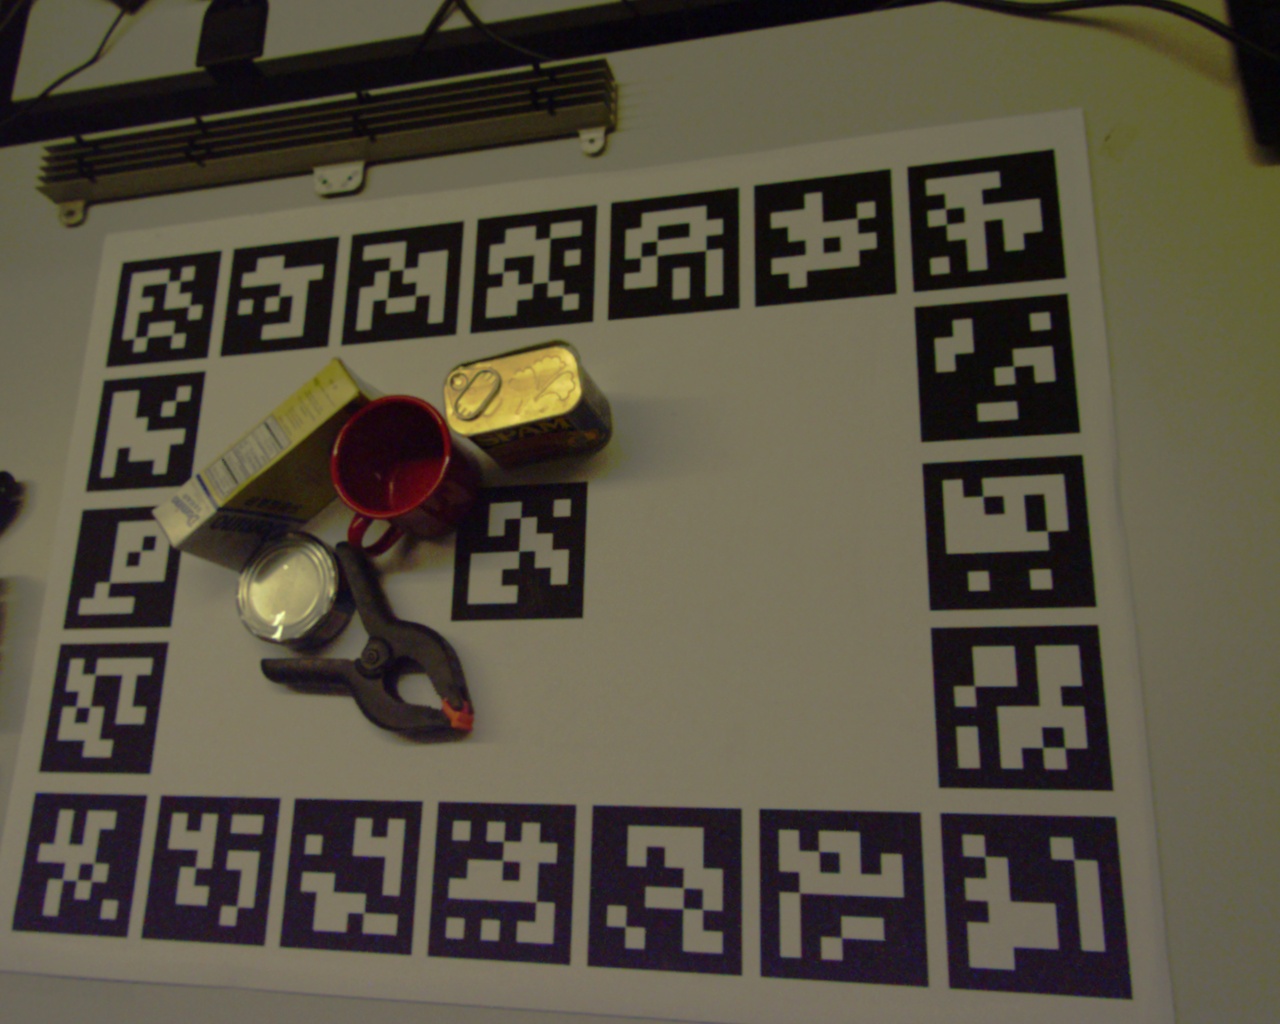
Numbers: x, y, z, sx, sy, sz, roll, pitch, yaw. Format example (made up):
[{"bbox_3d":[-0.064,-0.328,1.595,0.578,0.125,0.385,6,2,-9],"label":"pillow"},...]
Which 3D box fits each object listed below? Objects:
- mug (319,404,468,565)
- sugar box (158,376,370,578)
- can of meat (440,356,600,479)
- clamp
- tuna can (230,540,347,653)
[{"bbox_3d":[-0.186,-0.015,0.859,0.094,0.081,0.117,23,84,19],"label":"mug"},{"bbox_3d":[-0.275,-0.024,0.889,0.176,0.092,0.046,-39,68,1],"label":"sugar box"},{"bbox_3d":[-0.086,-0.068,0.854,0.102,0.083,0.058,-11,72,10],"label":"can of meat"},{"bbox_3d":[-0.197,0.117,0.860,0.166,0.036,0.121,33,82,16],"label":"clamp"},{"bbox_3d":[-0.273,0.067,0.889,0.086,0.033,0.086,-4,76,15],"label":"tuna can"}]
